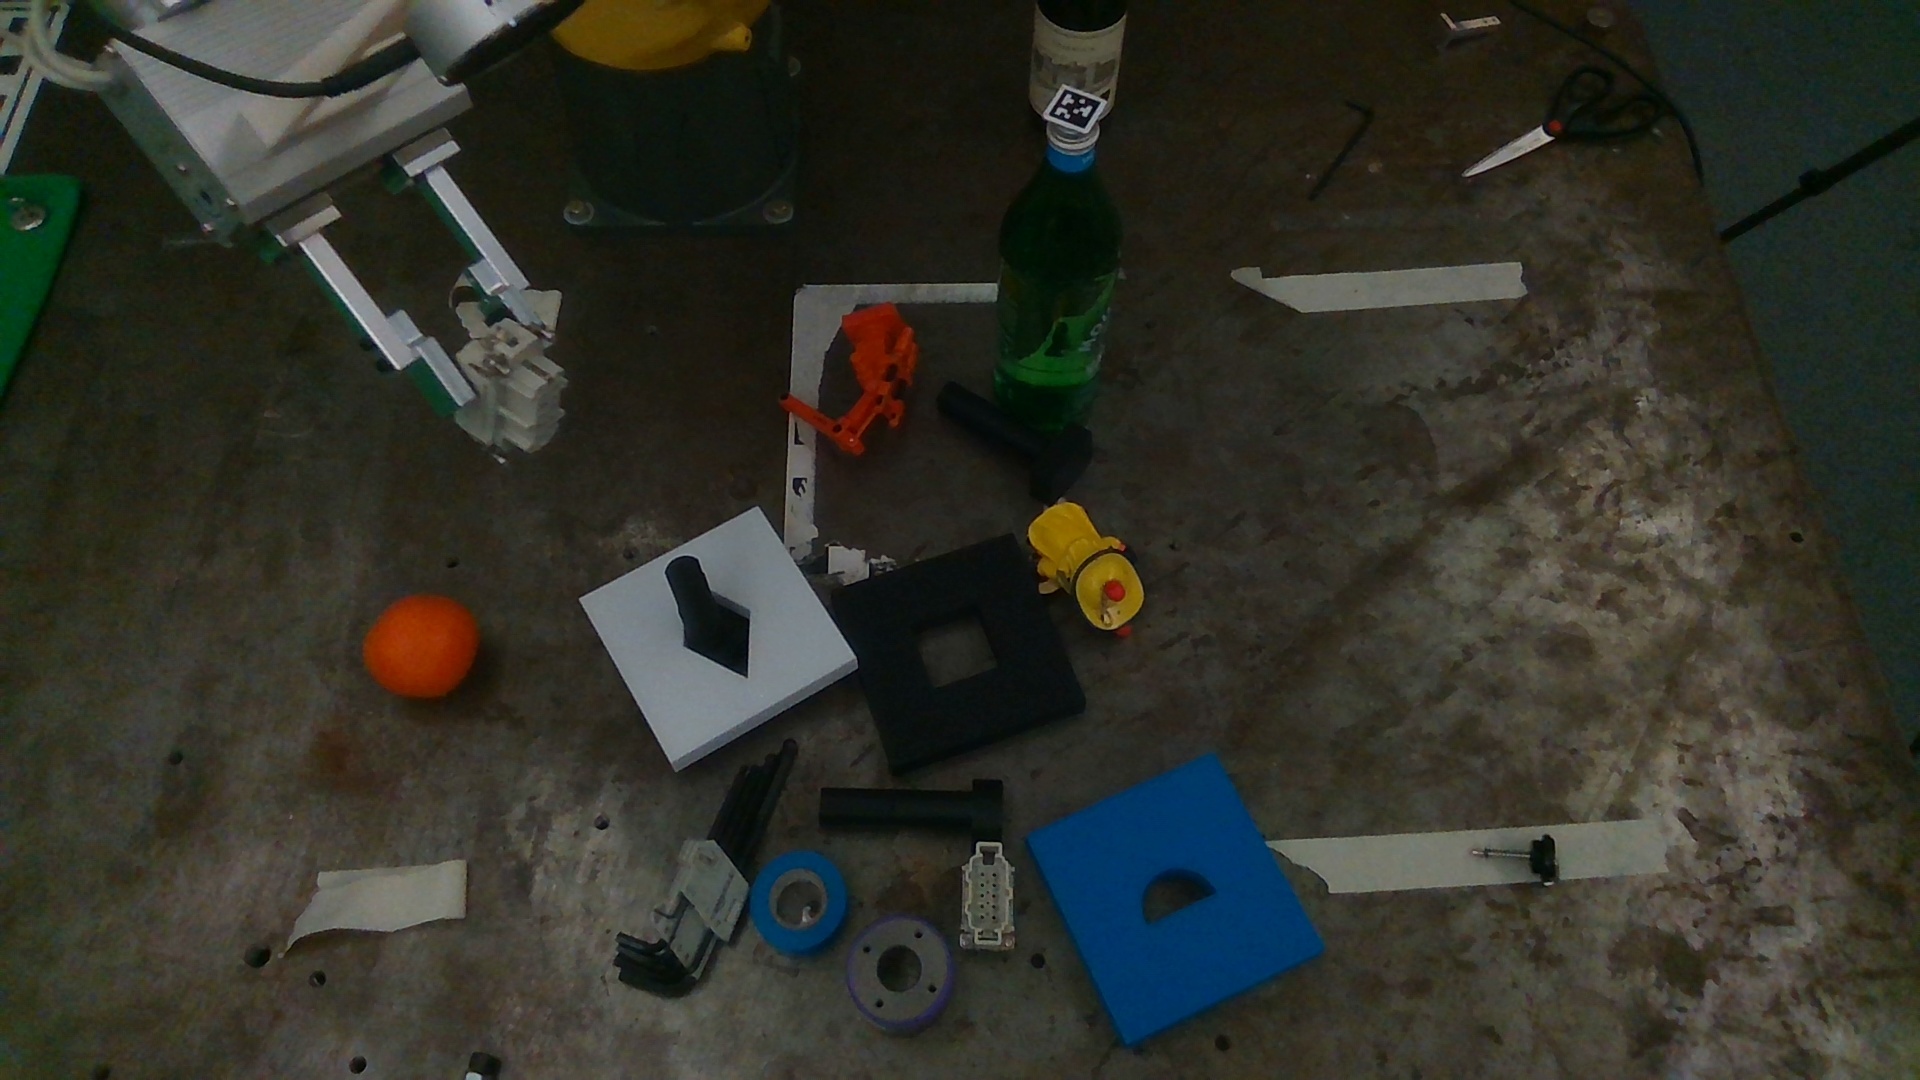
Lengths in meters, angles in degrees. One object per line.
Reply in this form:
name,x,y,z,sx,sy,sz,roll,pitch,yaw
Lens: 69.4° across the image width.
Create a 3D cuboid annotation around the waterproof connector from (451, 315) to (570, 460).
waterproof connector,-0.196,-0.065,0.608,0.038,0.069,0.036,35,47,6
